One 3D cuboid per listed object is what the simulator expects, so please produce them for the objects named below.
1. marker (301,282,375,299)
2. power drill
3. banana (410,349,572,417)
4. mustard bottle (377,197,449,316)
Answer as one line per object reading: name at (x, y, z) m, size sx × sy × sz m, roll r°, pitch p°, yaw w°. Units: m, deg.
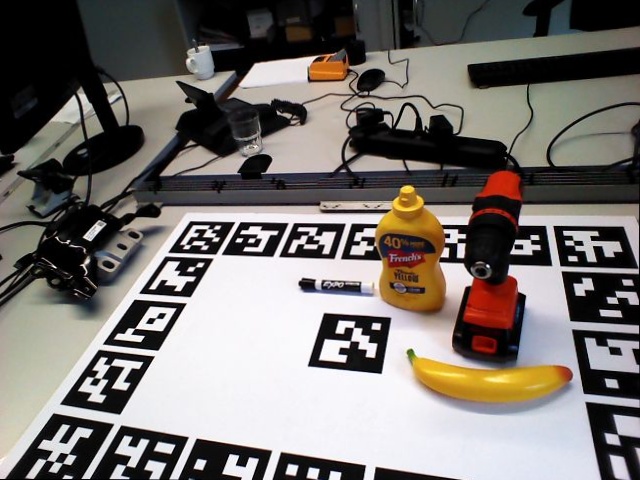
marker at (0.027, 0.080, 0.825) m, size 0.122 × 0.020 × 0.019 m, roll 2°, pitch 41°, yaw 19°
power drill at (0.213, 0.052, 0.637) m, size 0.058 × 0.187 × 0.183 m, roll 12°, pitch 42°, yaw 26°
banana at (0.199, 0.181, 0.635) m, size 0.198 × 0.039 × 0.073 m, roll 5°, pitch 43°, yaw 25°
mustard bottle at (0.130, 0.022, 0.727) m, size 0.097 × 0.192 × 0.058 m, roll 10°, pitch 43°, yaw 25°
